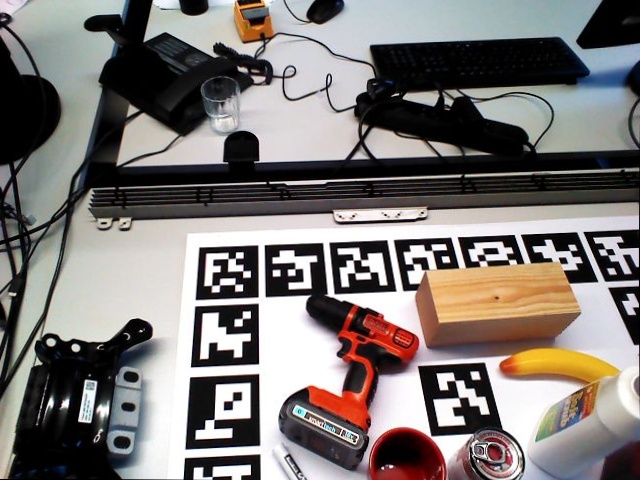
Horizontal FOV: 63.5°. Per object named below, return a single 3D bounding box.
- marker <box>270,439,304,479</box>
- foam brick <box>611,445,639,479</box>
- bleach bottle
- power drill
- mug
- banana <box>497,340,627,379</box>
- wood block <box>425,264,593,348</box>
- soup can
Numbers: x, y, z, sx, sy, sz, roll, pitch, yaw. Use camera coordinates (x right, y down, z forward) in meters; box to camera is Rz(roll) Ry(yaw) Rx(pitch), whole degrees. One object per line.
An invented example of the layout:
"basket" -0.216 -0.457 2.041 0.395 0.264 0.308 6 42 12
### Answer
"marker" -0.026 0.310 0.655 0.019 0.020 0.121 -28 60 -16
"foam brick" 0.402 0.290 0.635 0.053 0.078 0.051 26 56 20
"bleach bottle" 0.323 0.203 0.589 0.068 0.252 0.102 23 56 16
"power drill" 0.037 0.179 0.730 0.185 0.057 0.185 24 56 12
"mug" 0.090 0.285 0.631 0.093 0.082 0.116 37 65 21
"banana" 0.353 0.179 0.733 0.198 0.039 0.074 13 69 6
"wood block" 0.269 0.097 0.766 0.206 0.091 0.089 -2 55 -2
"soup can" 0.198 0.270 0.624 0.068 0.102 0.067 1 50 -2
